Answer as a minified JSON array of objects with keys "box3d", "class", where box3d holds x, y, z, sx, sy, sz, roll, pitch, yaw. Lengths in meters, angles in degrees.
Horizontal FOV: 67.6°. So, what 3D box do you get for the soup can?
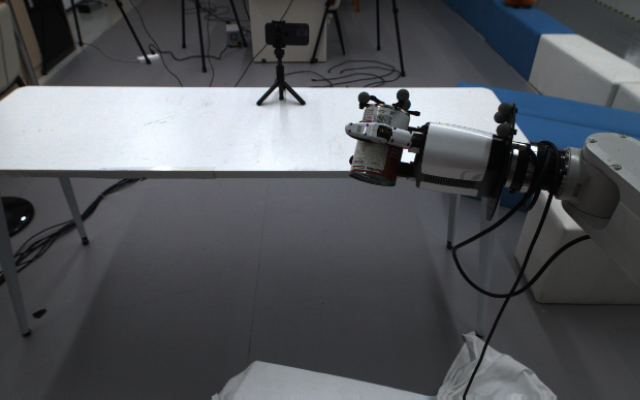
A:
[{"box3d":[0.085,-0.077,0.686,0.067,0.101,0.067,13,-6,1],"class":"soup can"}]
